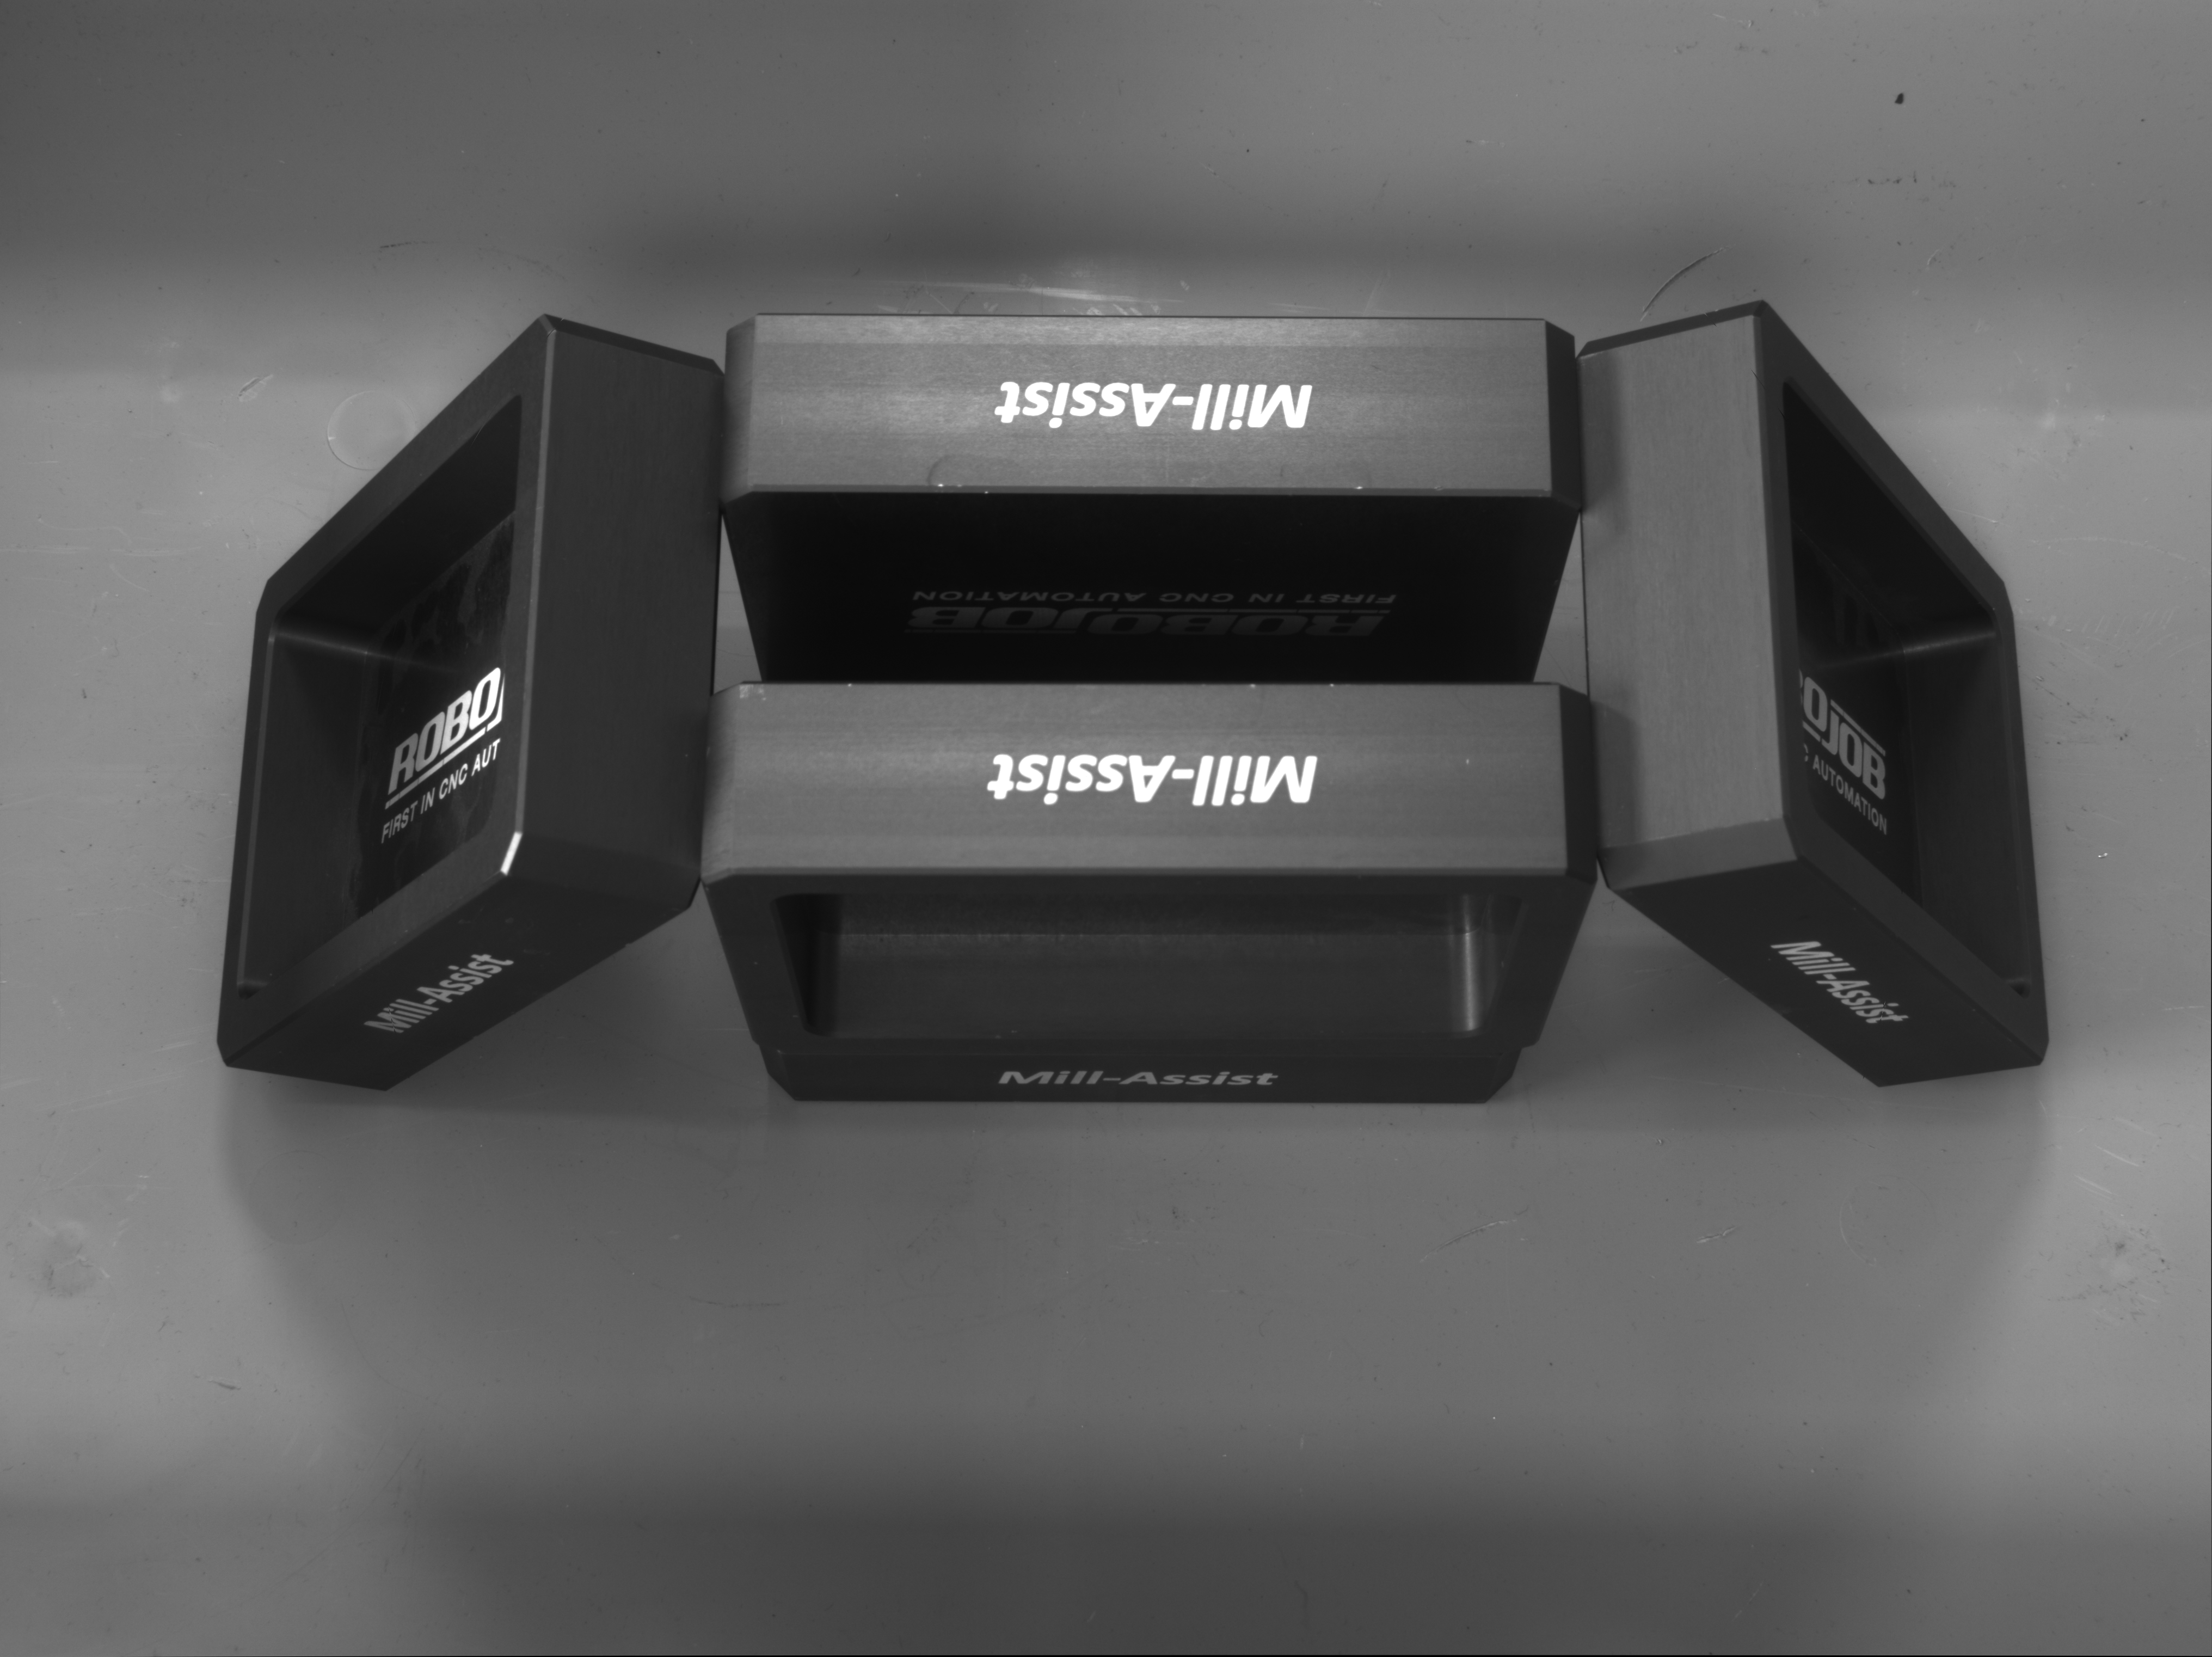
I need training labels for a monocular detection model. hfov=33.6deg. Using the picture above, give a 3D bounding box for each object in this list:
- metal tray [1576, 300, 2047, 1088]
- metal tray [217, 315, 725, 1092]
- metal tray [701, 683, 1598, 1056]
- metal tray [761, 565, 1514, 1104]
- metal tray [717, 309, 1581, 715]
[{"bbox_3d":[0.116,-0.018,0.595,0.030,0.130,0.090,-11,67,28],"label":"metal tray"},{"bbox_3d":[-0.105,-0.016,0.595,0.030,0.130,0.090,12,67,-30],"label":"metal tray"},{"bbox_3d":[0.006,0.008,0.574,0.130,0.090,0.030,0,69,0],"label":"metal tray"},{"bbox_3d":[0.006,0.001,0.641,0.130,0.030,0.090,0,70,-1],"label":"metal tray"},{"bbox_3d":[0.007,-0.049,0.594,0.130,0.090,0.030,0,69,0],"label":"metal tray"}]
